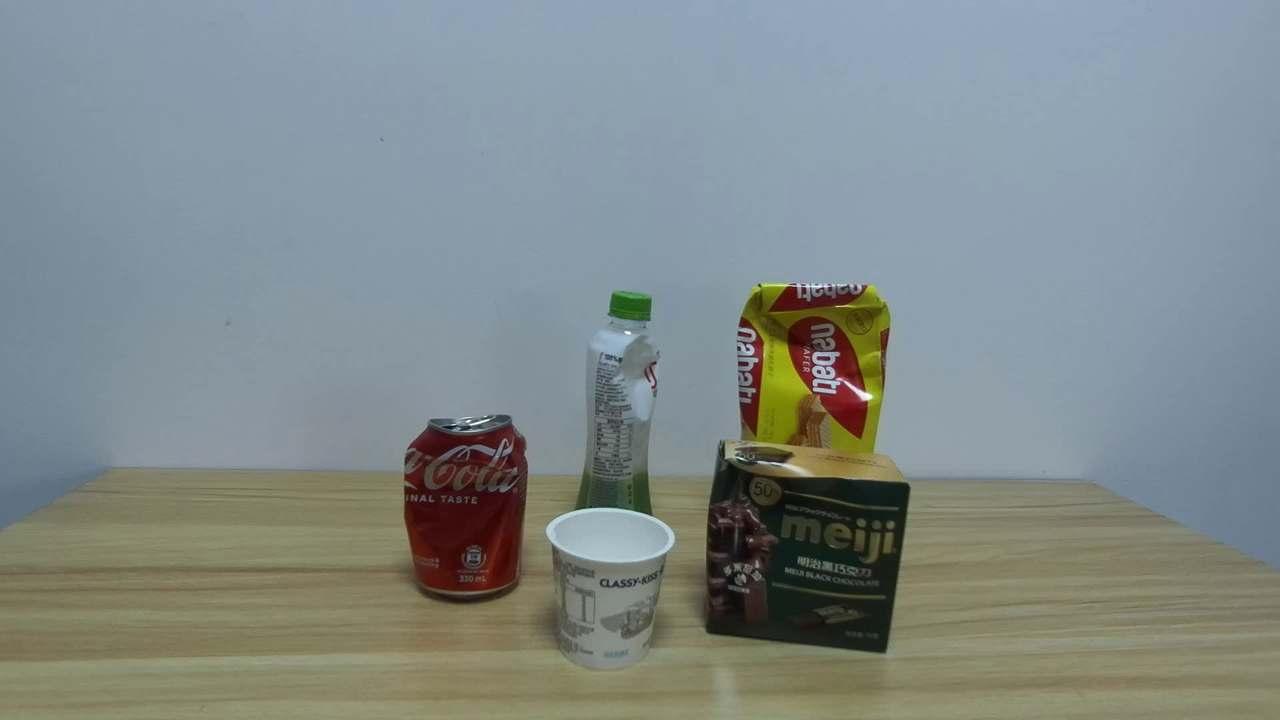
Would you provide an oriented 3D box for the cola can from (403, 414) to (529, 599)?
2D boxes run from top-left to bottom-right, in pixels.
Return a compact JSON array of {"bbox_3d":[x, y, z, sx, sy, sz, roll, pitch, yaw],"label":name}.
[{"bbox_3d":[-0.107,0.092,0.458,0.069,0.112,0.066,6,10,14],"label":"cola can"}]

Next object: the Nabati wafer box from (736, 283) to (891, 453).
[{"bbox_3d":[0.130,0.045,0.544,0.113,0.205,0.042,1,8,-7],"label":"Nabati wafer box"}]

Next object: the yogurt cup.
[{"bbox_3d":[-0.018,0.130,0.401,0.072,0.068,0.072,4,12,0],"label":"yogurt cup"}]

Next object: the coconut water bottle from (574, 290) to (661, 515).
[{"bbox_3d":[-0.016,0.042,0.545,0.069,0.186,0.069,5,8,0],"label":"coconut water bottle"}]
